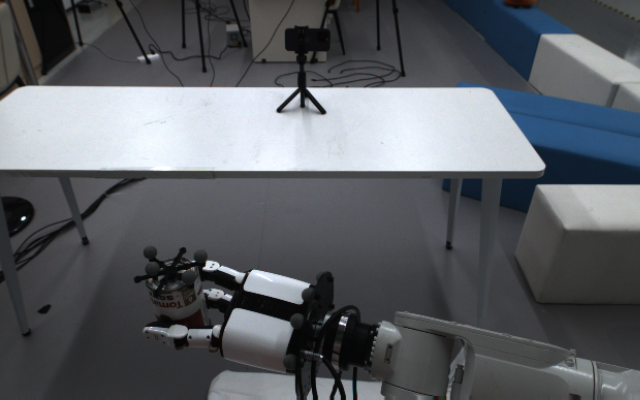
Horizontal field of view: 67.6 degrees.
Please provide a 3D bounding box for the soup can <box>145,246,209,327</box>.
[{"bbox_3d":[-0.184,0.137,0.642,0.067,0.101,0.067,-2,33,1],"label":"soup can"}]
